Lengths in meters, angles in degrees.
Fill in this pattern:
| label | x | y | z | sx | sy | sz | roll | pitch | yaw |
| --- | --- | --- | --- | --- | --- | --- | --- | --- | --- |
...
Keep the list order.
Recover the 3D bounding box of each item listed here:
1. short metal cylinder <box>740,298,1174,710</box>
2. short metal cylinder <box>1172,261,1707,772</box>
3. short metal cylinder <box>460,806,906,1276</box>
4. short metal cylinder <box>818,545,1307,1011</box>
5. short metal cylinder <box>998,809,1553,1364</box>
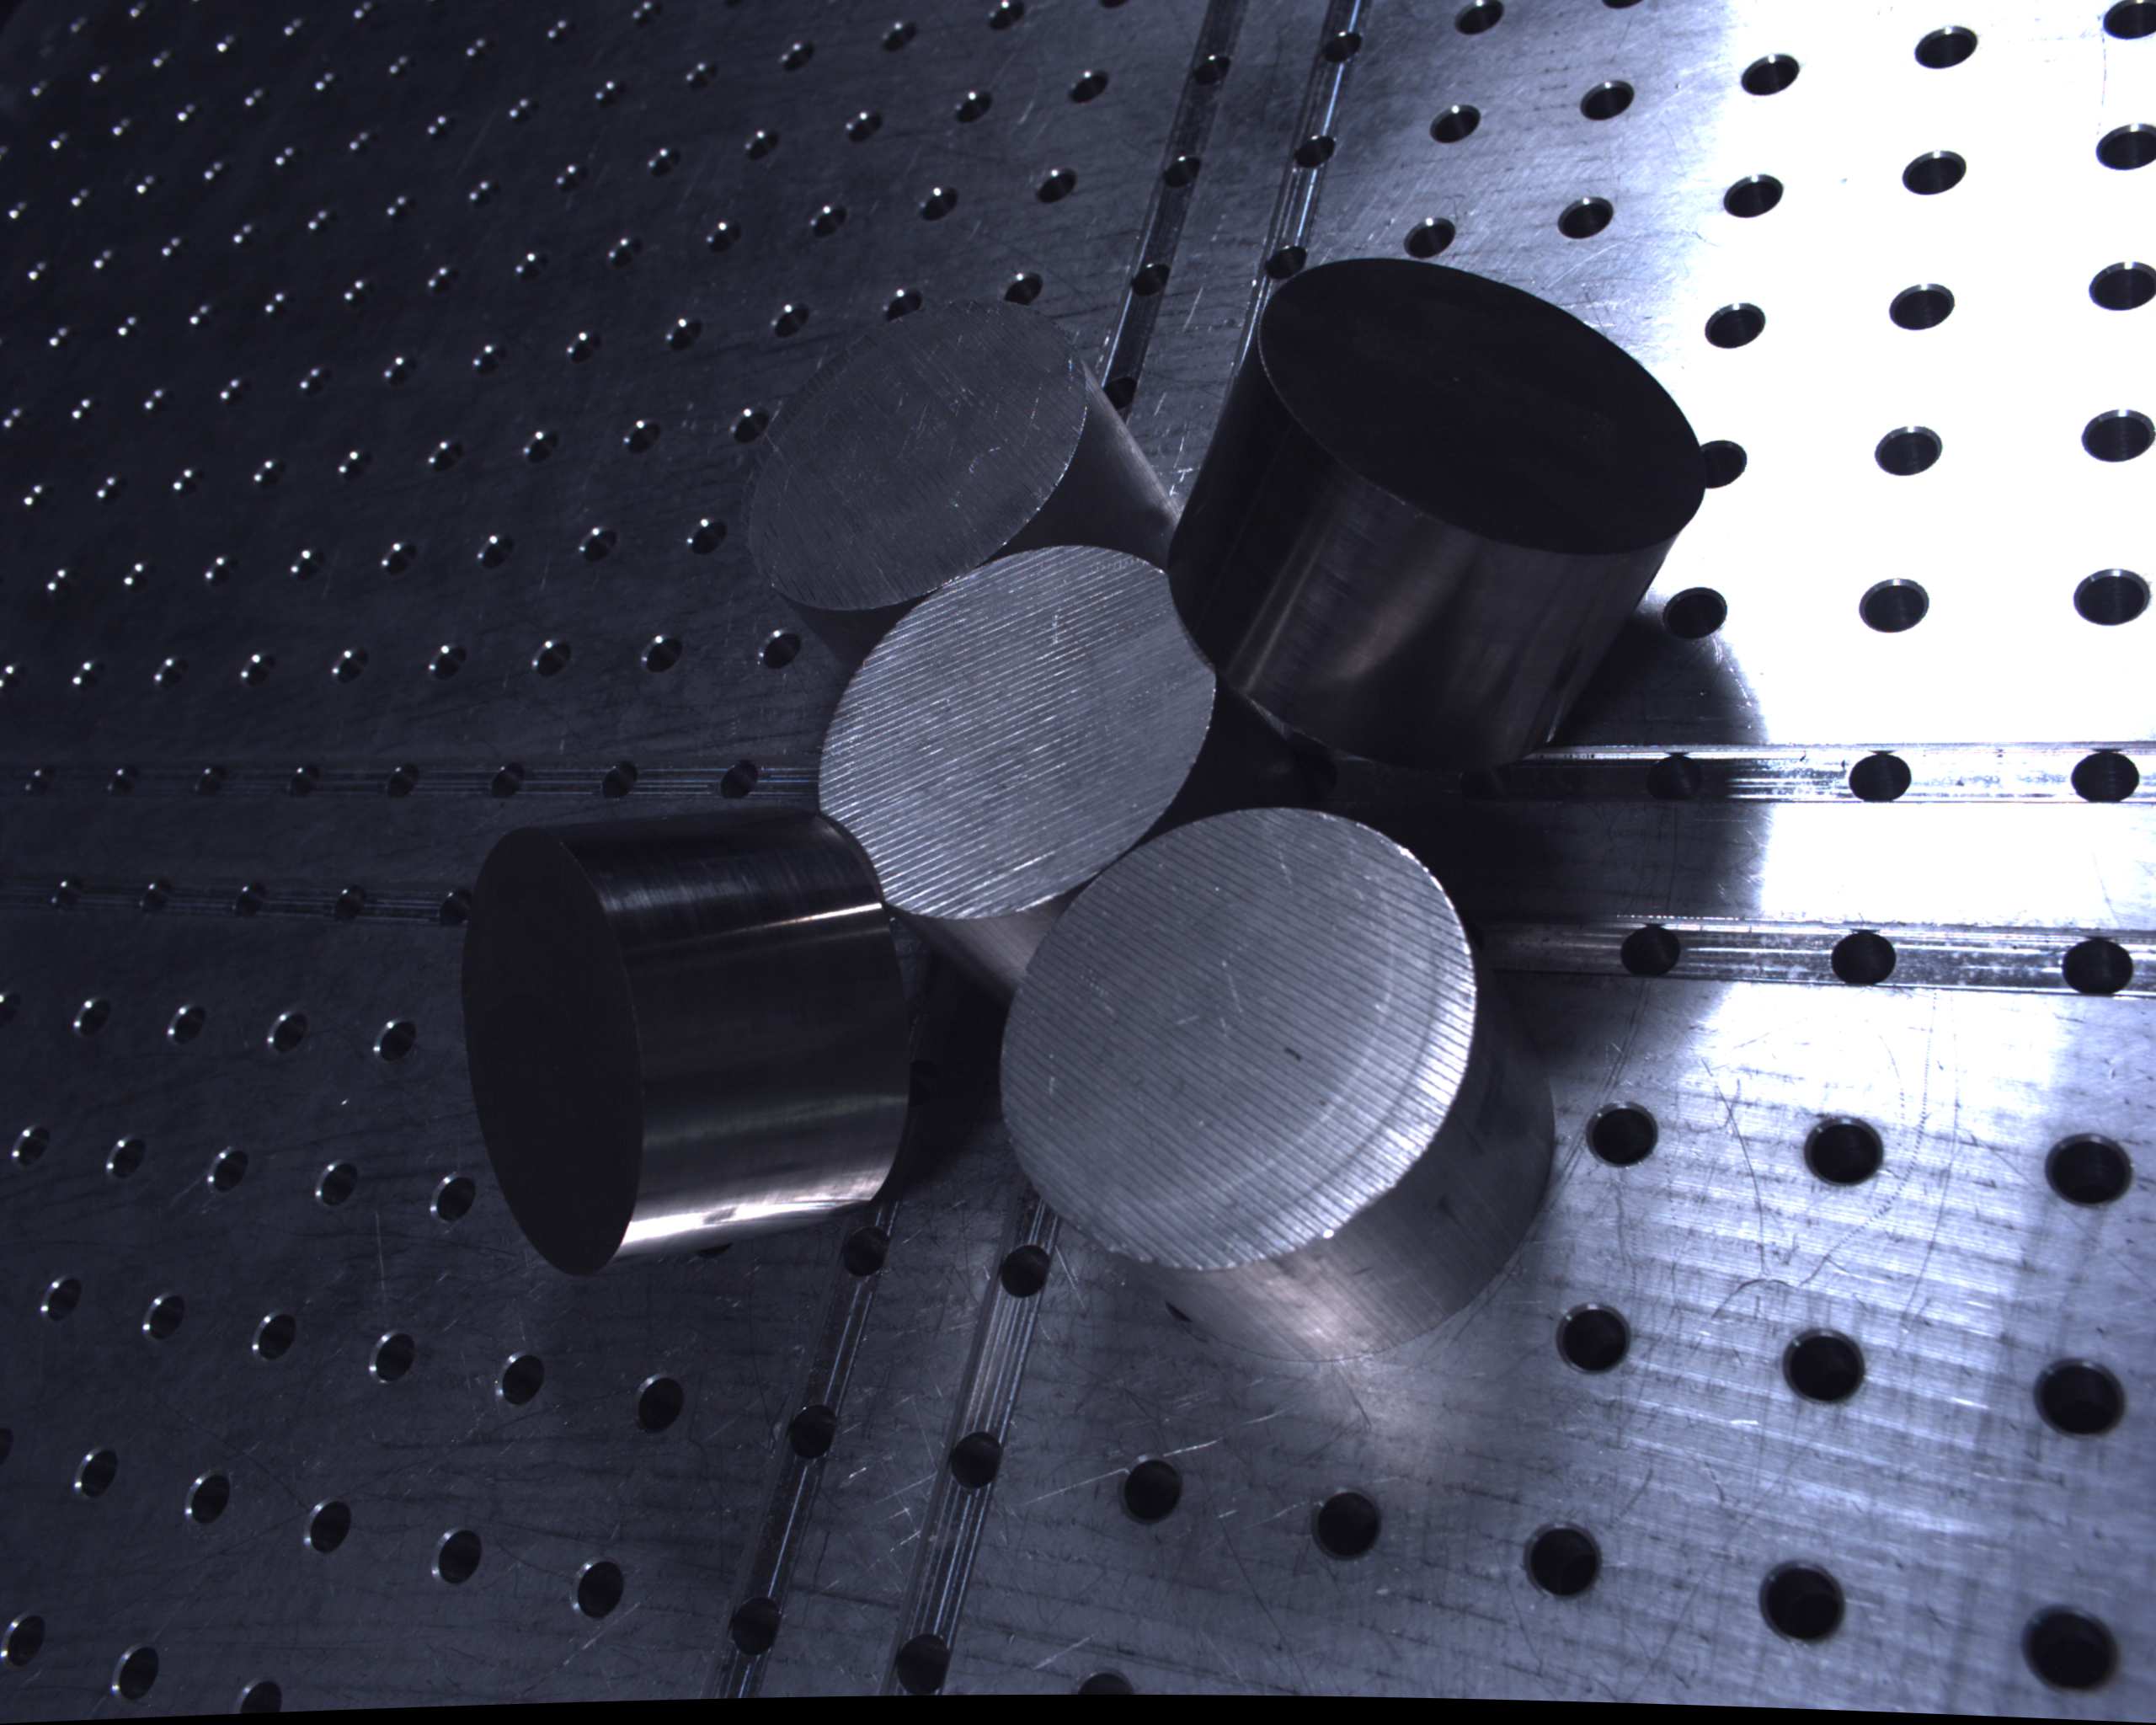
| label | x | y | z | sx | sy | sz | roll | pitch | yaw |
| --- | --- | --- | --- | --- | --- | --- | --- | --- | --- |
| short metal cylinder | -0.025 | -0.073 | 0.448 | 0.080 | 0.050 | 0.080 | -13 | 56 | 20 |
| short metal cylinder | 0.063 | -0.062 | 0.371 | 0.081 | 0.050 | 0.080 | 11 | 46 | -11 |
| short metal cylinder | -0.074 | 0.031 | 0.384 | 0.080 | 0.050 | 0.079 | 12 | 105 | 52 |
| short metal cylinder | -0.002 | -0.014 | 0.400 | 0.080 | 0.050 | 0.080 | -13 | 56 | 20 |
| short metal cylinder | 0.034 | 0.038 | 0.350 | 0.080 | 0.050 | 0.080 | -13 | 56 | 20 |
